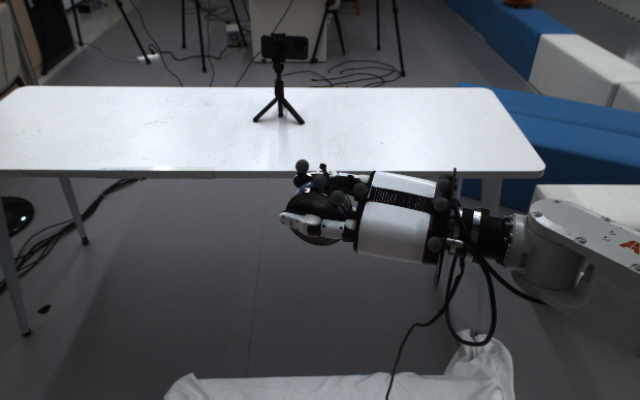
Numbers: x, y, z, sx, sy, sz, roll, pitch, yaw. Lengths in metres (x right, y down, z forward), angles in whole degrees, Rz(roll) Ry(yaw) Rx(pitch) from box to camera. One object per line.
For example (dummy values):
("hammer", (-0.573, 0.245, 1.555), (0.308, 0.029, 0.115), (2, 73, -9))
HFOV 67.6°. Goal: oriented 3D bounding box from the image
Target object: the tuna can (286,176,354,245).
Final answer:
("tuna can", (0.001, 0.017, 0.649), (0.085, 0.085, 0.034), (12, 33, 14))
